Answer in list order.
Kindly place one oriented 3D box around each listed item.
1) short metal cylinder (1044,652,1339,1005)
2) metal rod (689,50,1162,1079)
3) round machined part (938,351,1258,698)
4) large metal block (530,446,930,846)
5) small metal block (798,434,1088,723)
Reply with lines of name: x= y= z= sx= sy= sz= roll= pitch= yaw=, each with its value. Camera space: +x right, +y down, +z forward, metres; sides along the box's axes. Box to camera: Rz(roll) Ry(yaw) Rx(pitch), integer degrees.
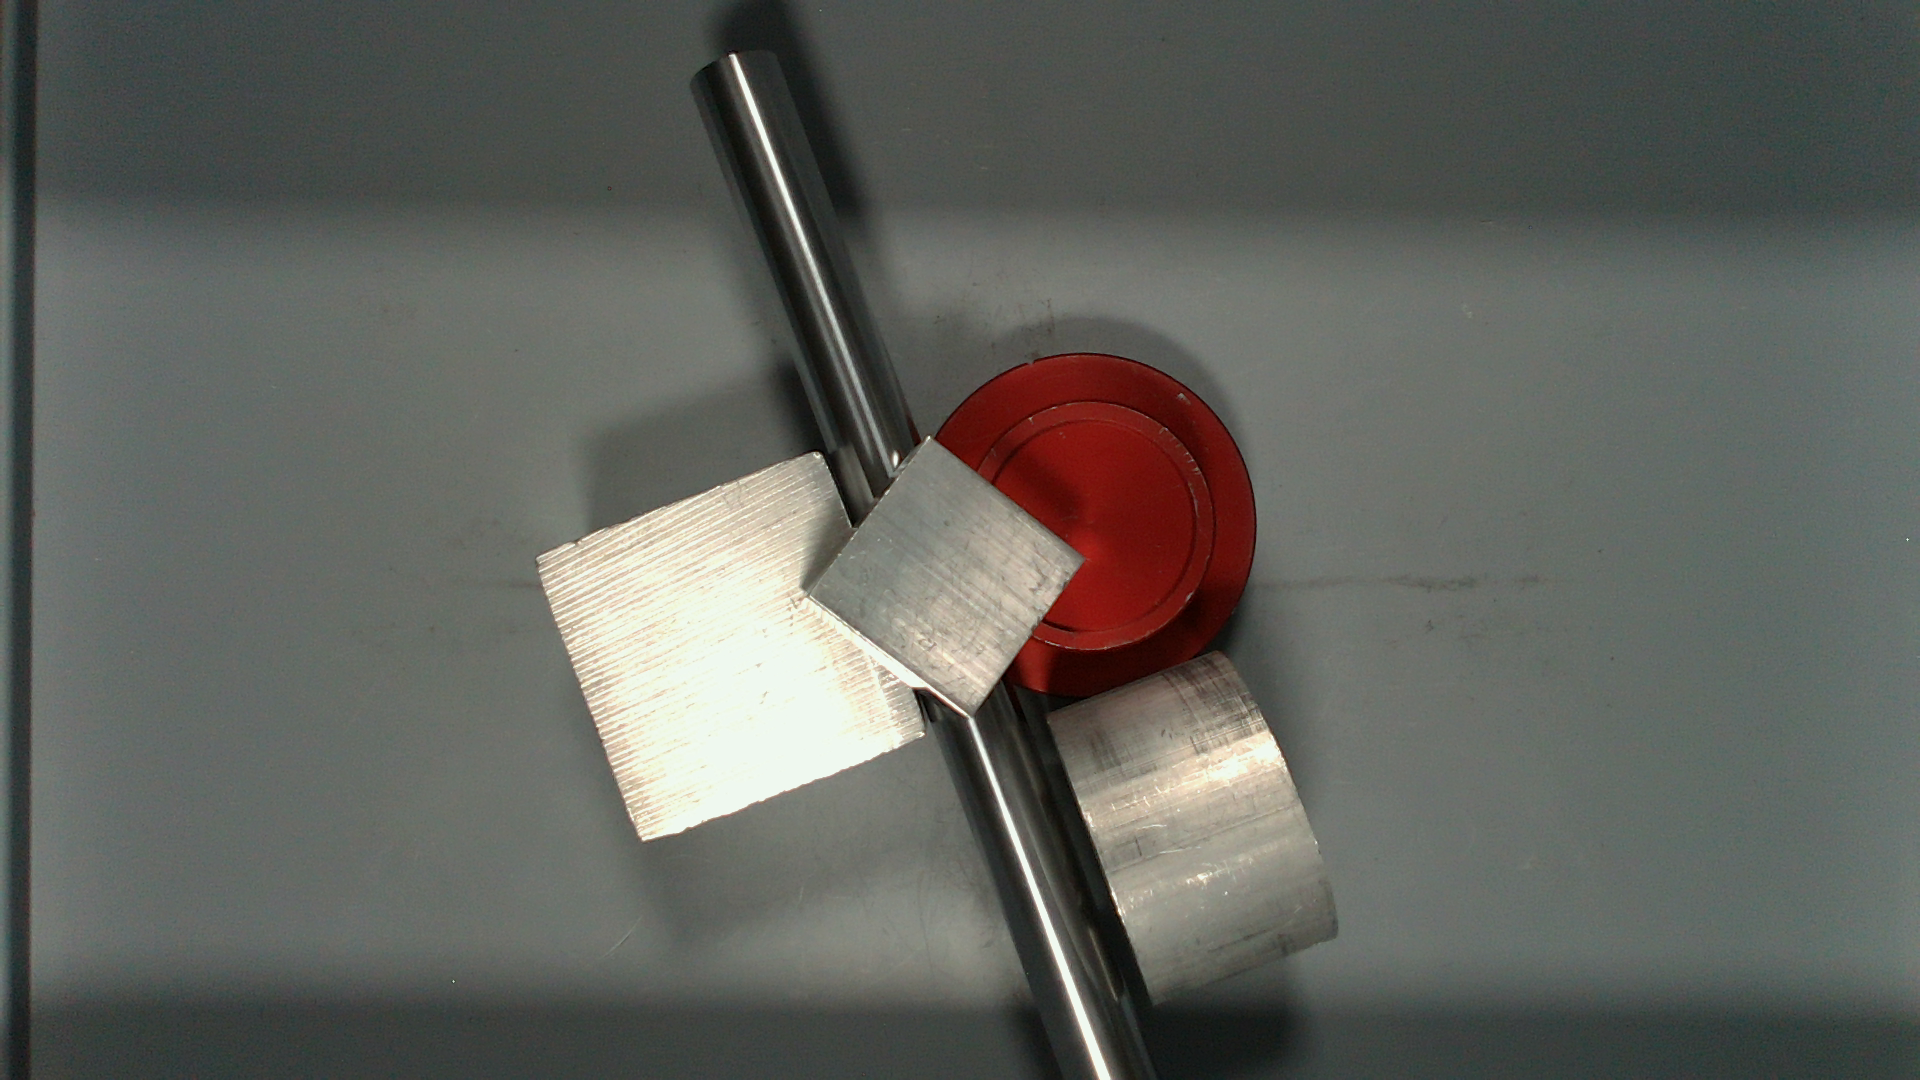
short metal cylinder: x=0.060 y=0.076 z=0.367 sx=0.050 sy=0.080 sz=0.080 roll=-21 pitch=90 yaw=0
metal rod: x=-0.009 y=0.014 z=0.373 sx=0.025 sy=0.025 sz=0.300 roll=-21 pitch=90 yaw=0
round machined part: x=0.035 y=-0.004 z=0.385 sx=0.098 sy=0.042 sz=0.098 roll=0 pitch=90 yaw=0
large metal block: x=-0.059 y=0.027 z=0.379 sx=0.080 sy=0.050 sz=0.080 roll=-21 pitch=90 yaw=0
small metal block: x=-0.005 y=0.010 z=0.346 sx=0.050 sy=0.025 sz=0.050 roll=38 pitch=79 yaw=-7
